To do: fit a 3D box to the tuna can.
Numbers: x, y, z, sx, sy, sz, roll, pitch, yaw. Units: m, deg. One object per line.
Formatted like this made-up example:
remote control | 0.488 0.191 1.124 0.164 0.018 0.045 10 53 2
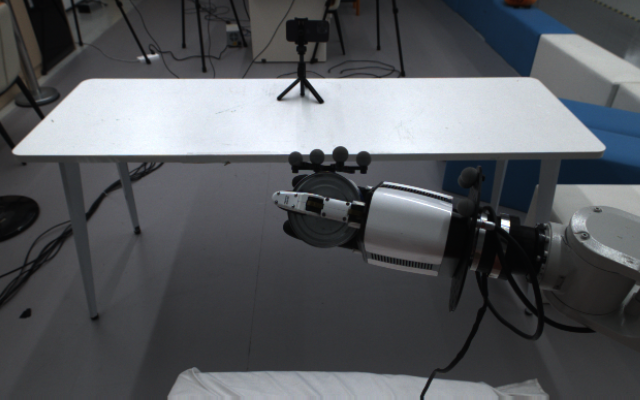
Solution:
tuna can | 0.012 0.016 0.549 0.085 0.085 0.034 12 0 14
